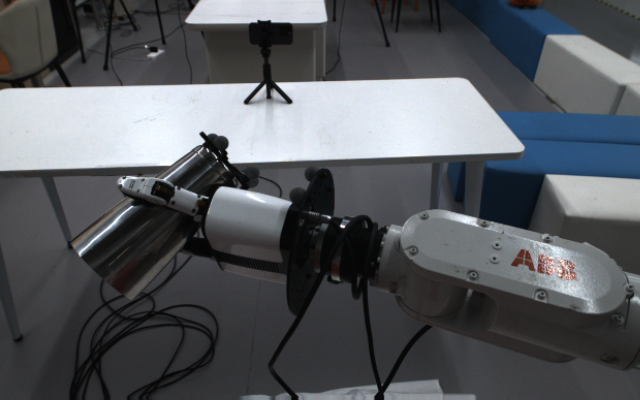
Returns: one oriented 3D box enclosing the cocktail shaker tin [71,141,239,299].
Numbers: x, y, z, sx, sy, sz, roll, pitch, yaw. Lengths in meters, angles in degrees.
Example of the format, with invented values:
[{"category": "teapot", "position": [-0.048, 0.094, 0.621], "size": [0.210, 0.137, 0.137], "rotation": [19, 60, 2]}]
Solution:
[{"category": "cocktail shaker tin", "position": [-0.176, 0.014, 0.545], "size": [0.170, 0.093, 0.093], "rotation": [-43, 50, -14]}]
